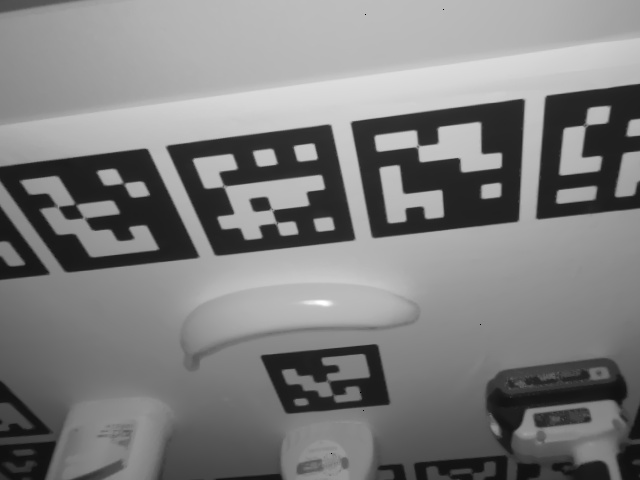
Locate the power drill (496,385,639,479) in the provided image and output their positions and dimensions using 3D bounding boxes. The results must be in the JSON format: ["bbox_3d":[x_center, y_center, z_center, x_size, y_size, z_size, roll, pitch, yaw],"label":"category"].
[{"bbox_3d":[0.197,0.215,0.542,0.184,0.188,0.057,-14,130,9],"label":"power drill"}]

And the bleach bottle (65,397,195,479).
[{"bbox_3d":[-0.178,0.255,0.583,0.102,0.253,0.067,-1,132,4],"label":"bleach bottle"}]

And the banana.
[{"bbox_3d":[-0.017,0.055,0.531,0.196,0.039,0.074,-14,129,9],"label":"banana"}]

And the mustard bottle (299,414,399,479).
[{"bbox_3d":[0.024,0.253,0.622,0.095,0.193,0.058,-13,131,16],"label":"mustard bottle"}]
